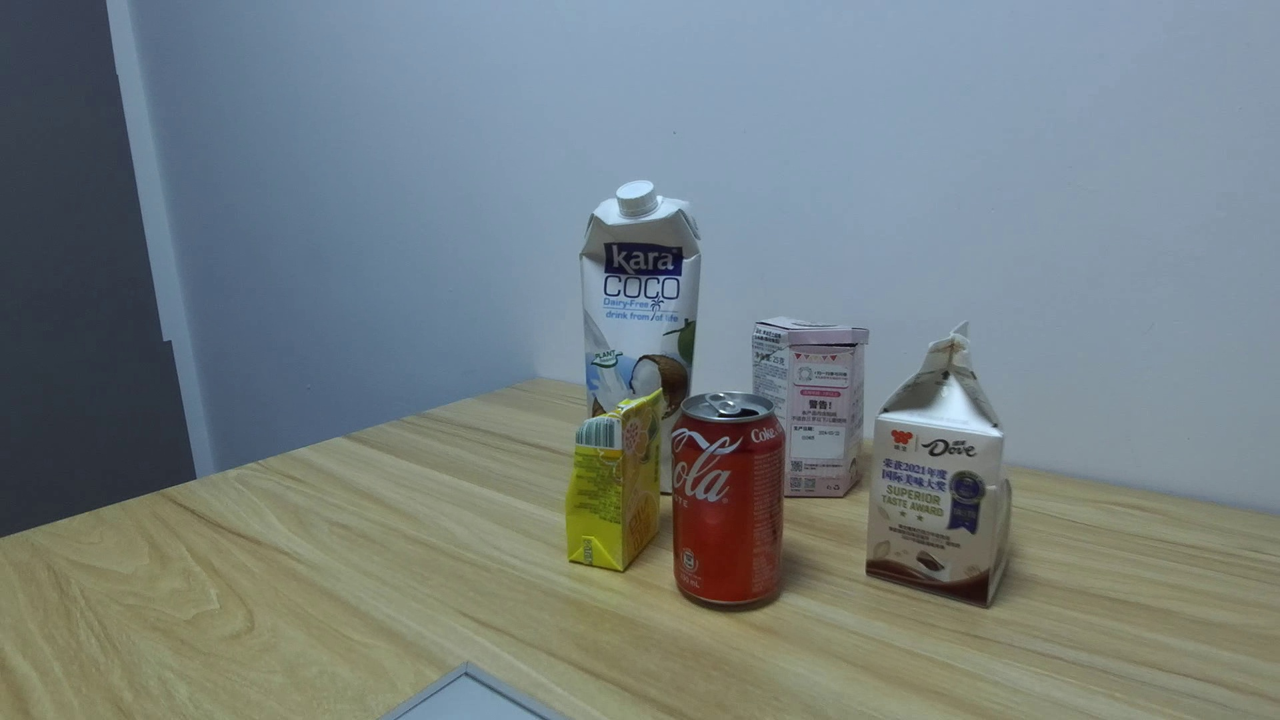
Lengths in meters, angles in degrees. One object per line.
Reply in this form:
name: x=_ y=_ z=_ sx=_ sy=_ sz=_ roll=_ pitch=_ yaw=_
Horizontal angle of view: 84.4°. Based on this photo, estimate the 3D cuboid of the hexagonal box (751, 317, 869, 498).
hexagonal box: x=0.136 y=0.035 z=0.570 sx=0.092 sy=0.135 sz=0.085 roll=0 pitch=13 yaw=6

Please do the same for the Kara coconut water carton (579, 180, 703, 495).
Kara coconut water carton: x=0.003 y=-0.018 z=0.569 sx=0.099 sy=0.244 sz=0.071 roll=0 pitch=13 yaw=9

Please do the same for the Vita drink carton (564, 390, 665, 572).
Vita drink carton: x=-0.016 y=0.075 z=0.473 sx=0.046 sy=0.109 sz=0.071 roll=7 pitch=15 yaw=24

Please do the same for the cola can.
cola can: x=0.052 y=0.081 z=0.421 sx=0.068 sy=0.120 sz=0.068 roll=-2 pitch=14 yaw=1
